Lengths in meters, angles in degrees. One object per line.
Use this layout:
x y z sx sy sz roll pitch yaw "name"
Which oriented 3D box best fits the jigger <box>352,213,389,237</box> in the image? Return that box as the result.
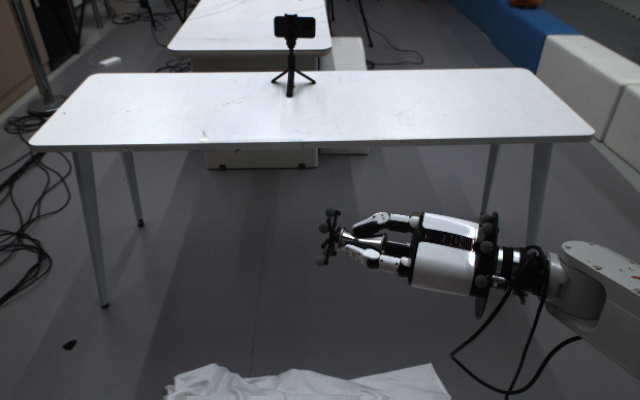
0.072 0.064 0.753 0.071 0.043 0.043 9 35 17 "jigger"
